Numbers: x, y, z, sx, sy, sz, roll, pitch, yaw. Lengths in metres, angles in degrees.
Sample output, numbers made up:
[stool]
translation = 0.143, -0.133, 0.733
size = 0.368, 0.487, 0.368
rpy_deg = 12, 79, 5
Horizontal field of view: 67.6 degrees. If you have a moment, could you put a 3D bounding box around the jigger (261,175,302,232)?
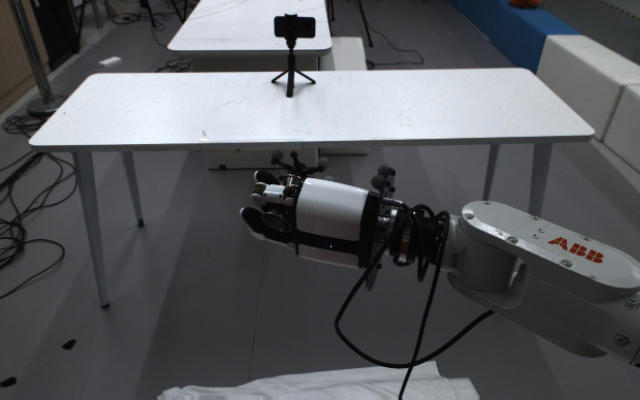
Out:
[jigger]
translation = -0.042, 0.004, 0.649
size = 0.043, 0.043, 0.071
rpy_deg = 13, 58, 16
